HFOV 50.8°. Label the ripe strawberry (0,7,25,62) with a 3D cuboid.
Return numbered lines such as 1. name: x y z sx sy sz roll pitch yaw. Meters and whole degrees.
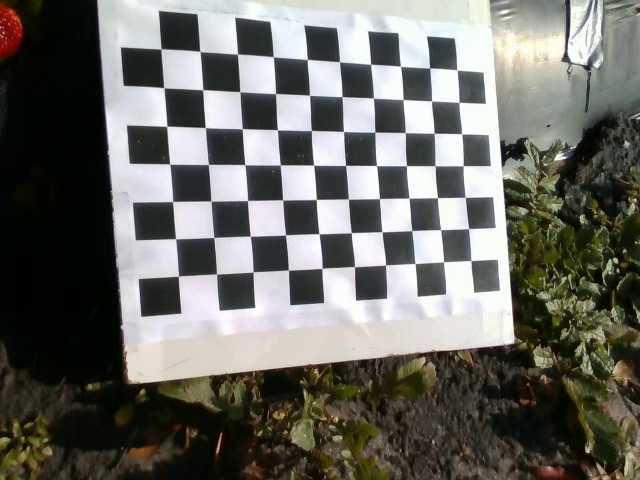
1. ripe strawberry: -0.068 -0.044 0.145 0.015 0.015 0.023 7 31 -21
